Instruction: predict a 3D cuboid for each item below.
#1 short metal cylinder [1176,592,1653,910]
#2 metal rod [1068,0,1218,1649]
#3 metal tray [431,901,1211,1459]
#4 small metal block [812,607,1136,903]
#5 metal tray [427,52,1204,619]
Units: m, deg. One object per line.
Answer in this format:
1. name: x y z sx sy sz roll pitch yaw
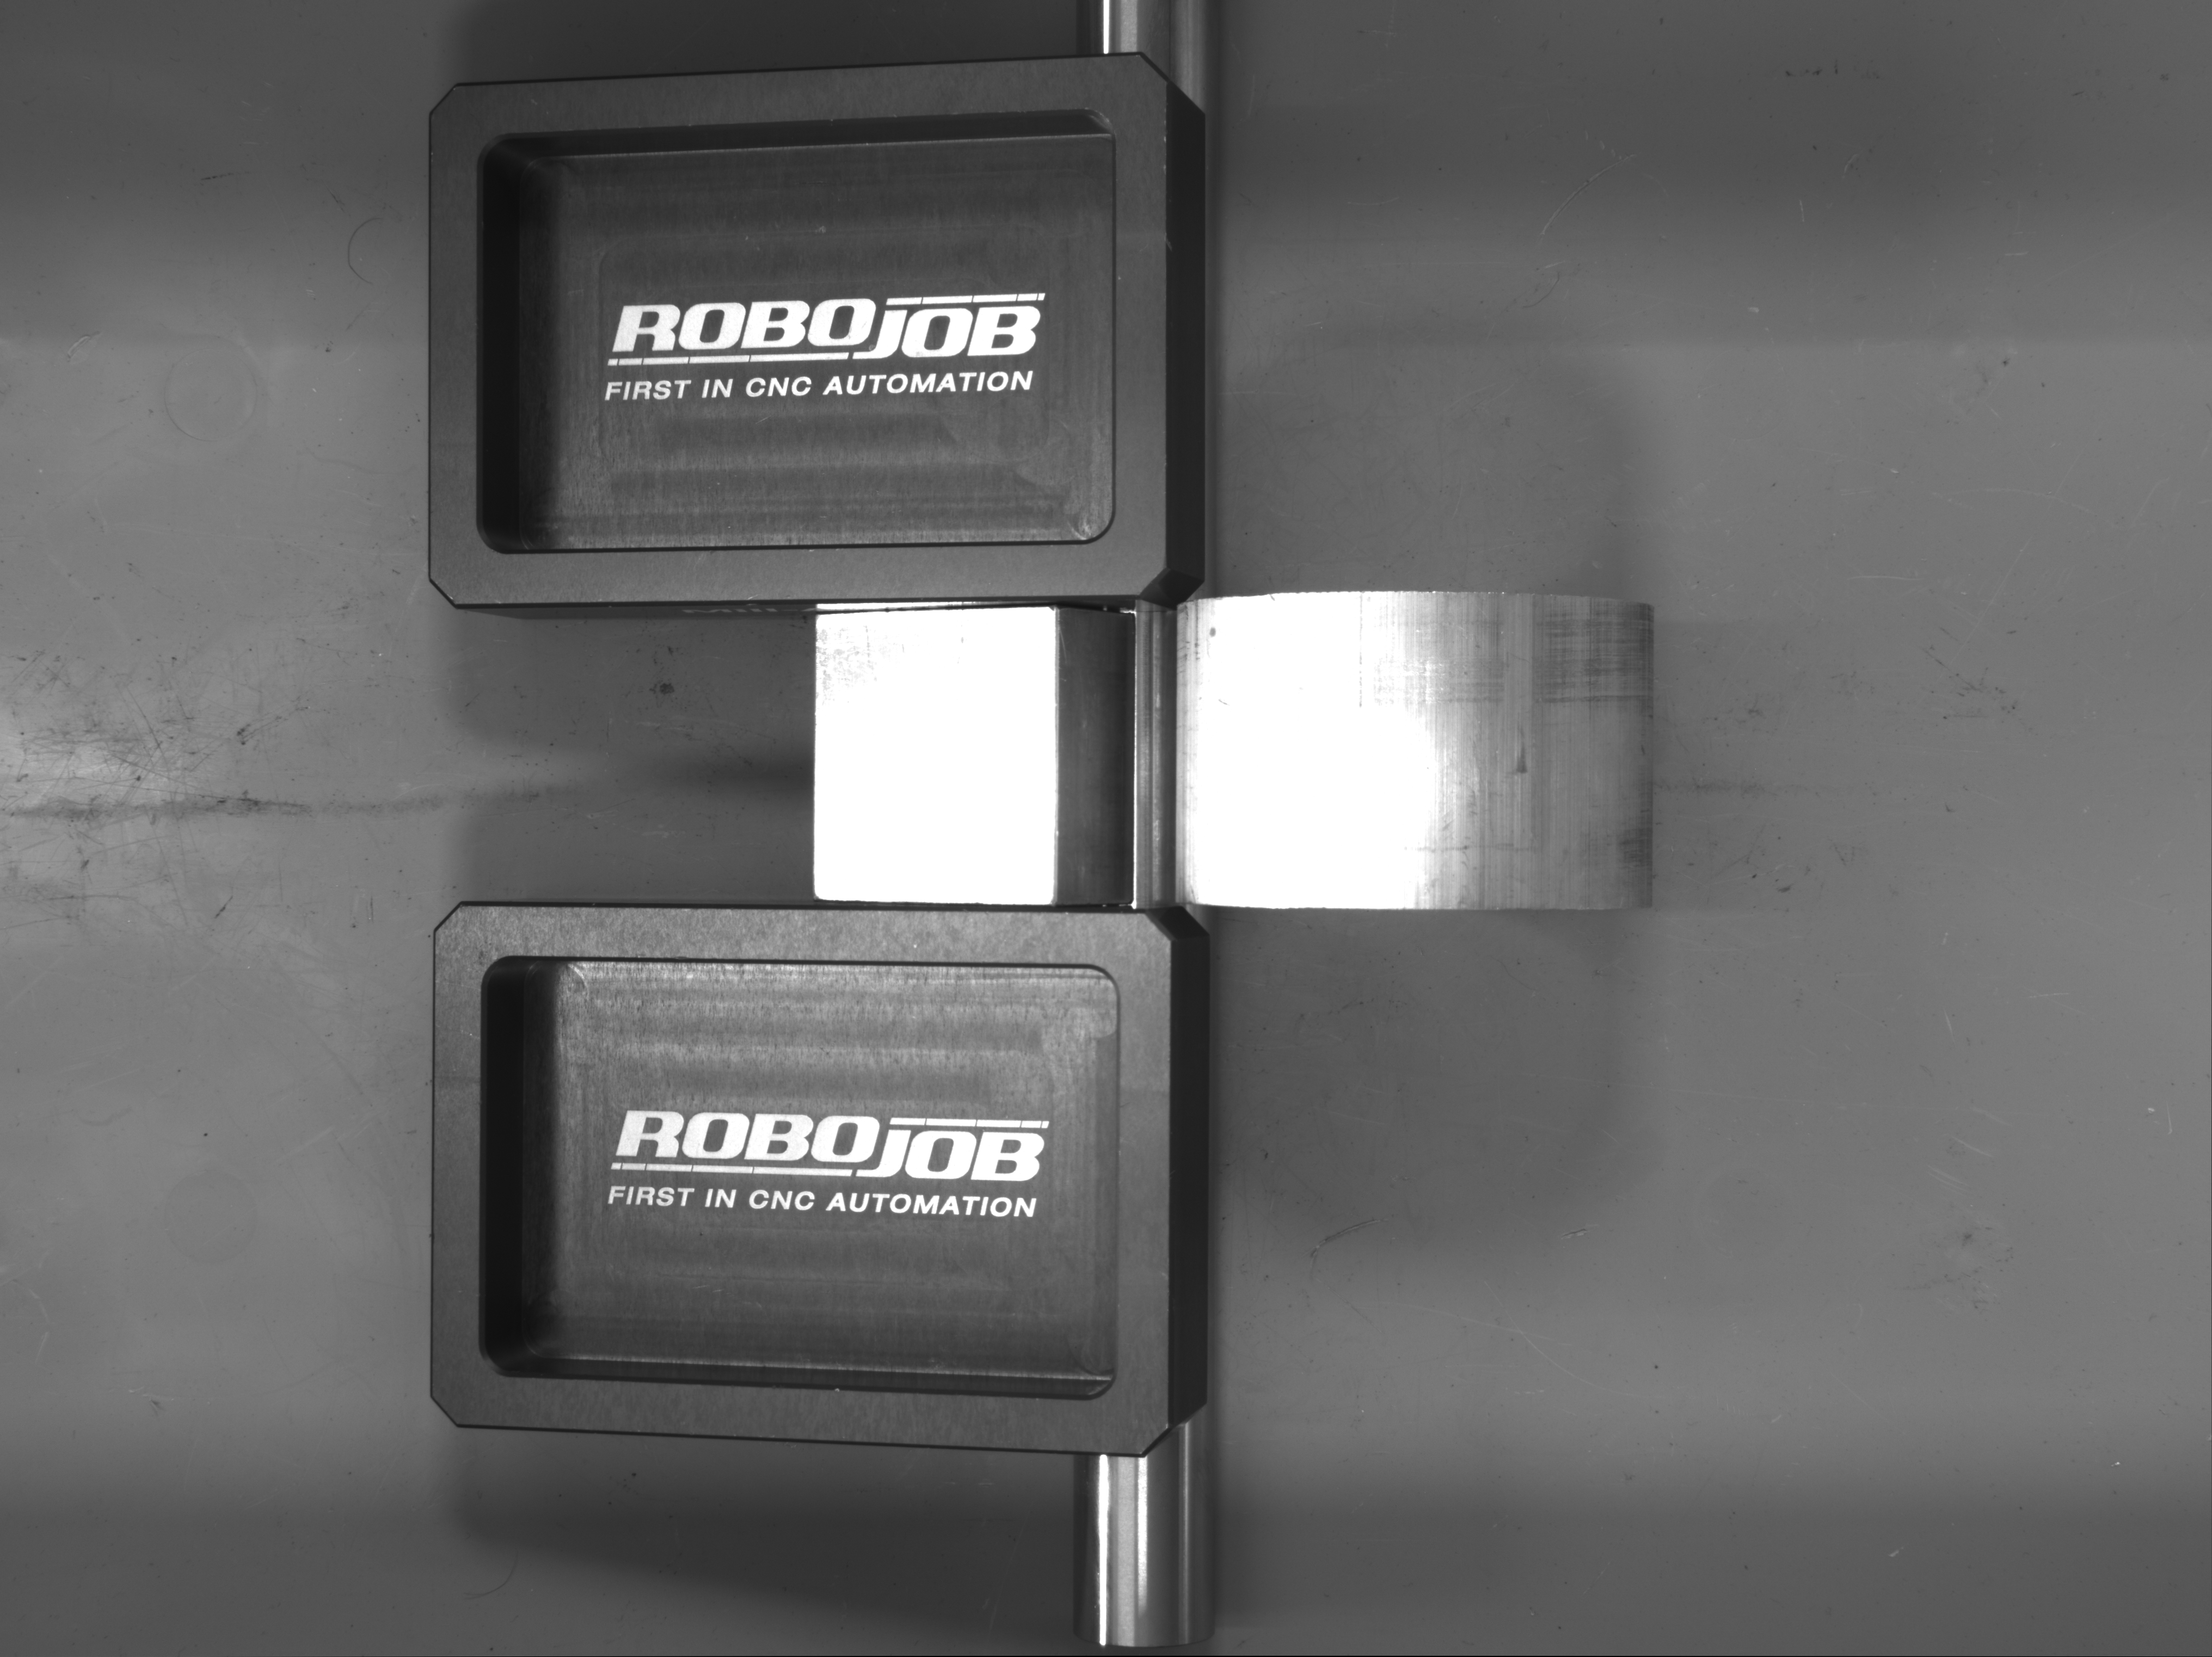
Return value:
1. short metal cylinder: 0.052 -0.012 0.617 0.080 0.080 0.050 0 90 0
2. metal rod: 0.006 -0.009 0.644 0.025 0.025 0.300 0 90 0
3. metal tray: -0.049 0.058 0.628 0.130 0.030 0.090 0 90 12
4. small metal block: -0.023 -0.012 0.634 0.050 0.025 0.050 1 90 31
5. metal tray: -0.050 -0.082 0.628 0.130 0.030 0.090 0 90 12
